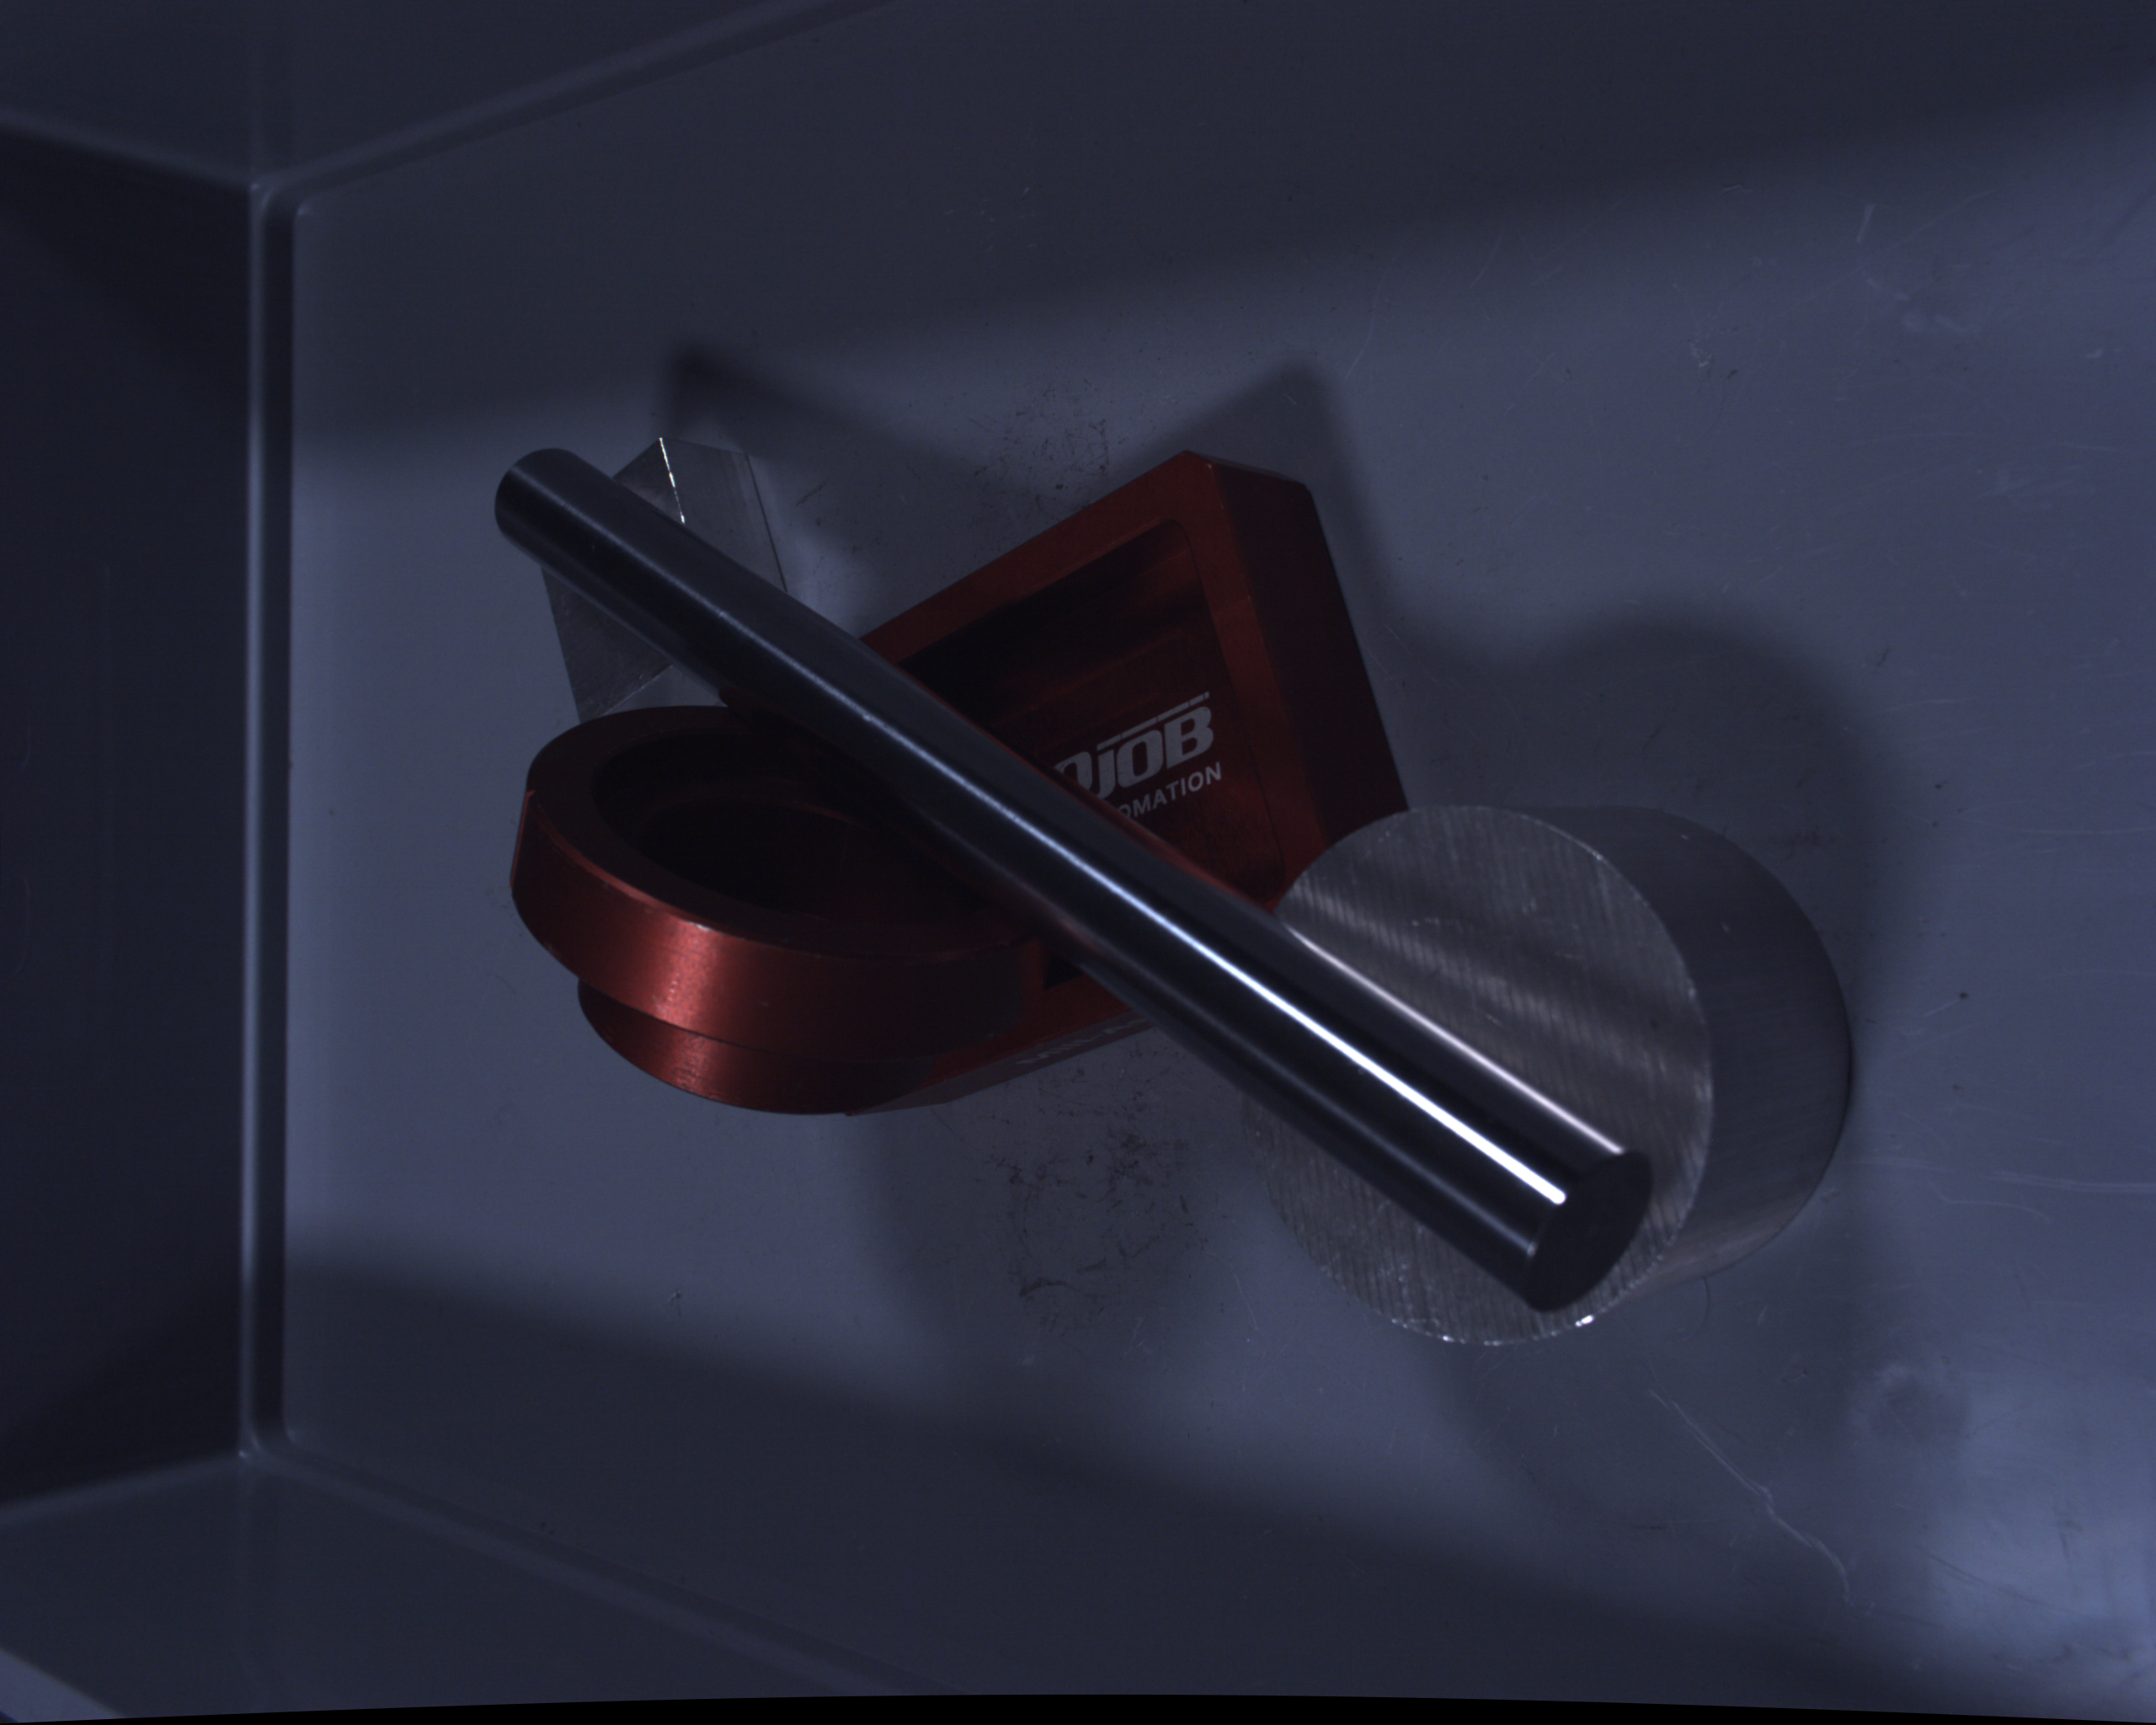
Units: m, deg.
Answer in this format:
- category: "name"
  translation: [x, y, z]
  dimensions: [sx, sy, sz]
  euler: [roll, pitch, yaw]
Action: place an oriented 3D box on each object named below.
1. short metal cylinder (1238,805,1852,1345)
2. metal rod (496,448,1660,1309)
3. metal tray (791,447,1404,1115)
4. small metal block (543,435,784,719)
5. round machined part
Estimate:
- category: "short metal cylinder"
  translation: [0.072, 0.031, 0.328]
  dimensions: [0.080, 0.050, 0.079]
  euler: [0, 90, 39]
- category: "metal rod"
  translation: [-0.025, -0.017, 0.371]
  dimensions: [0.300, 0.025, 0.025]
  euler: [35, 111, 41]
- category: "metal tray"
  translation: [-0.005, -0.011, 0.403]
  dimensions: [0.130, 0.030, 0.090]
  euler: [-24, 75, 37]
- category: "small metal block"
  translation: [-0.095, -0.063, 0.481]
  dimensions: [0.050, 0.025, 0.050]
  euler: [-28, 73, 36]
- category: "round machined part"
  translation: [-0.055, 0.011, 0.383]
  dimensions: [0.098, 0.099, 0.042]
  euler: [34, 119, 34]
